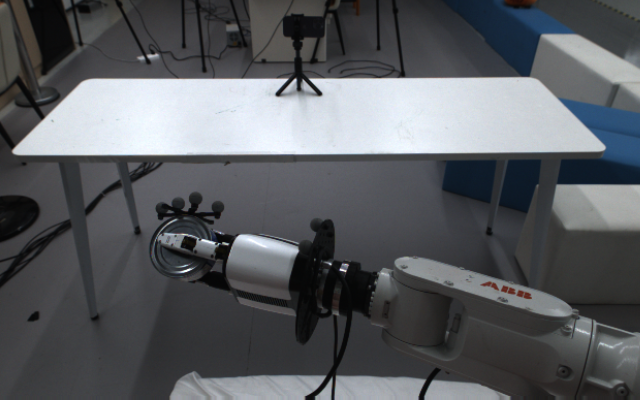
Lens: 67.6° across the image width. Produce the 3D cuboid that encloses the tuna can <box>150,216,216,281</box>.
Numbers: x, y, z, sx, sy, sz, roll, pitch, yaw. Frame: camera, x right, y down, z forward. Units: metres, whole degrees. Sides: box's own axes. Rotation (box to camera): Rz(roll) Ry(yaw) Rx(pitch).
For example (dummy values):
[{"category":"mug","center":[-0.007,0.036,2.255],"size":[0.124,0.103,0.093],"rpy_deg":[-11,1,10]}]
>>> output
[{"category":"tuna can","center":[-0.175,0.067,0.648],"size":[0.085,0.034,0.085],"rpy_deg":[-2,69,6]}]
